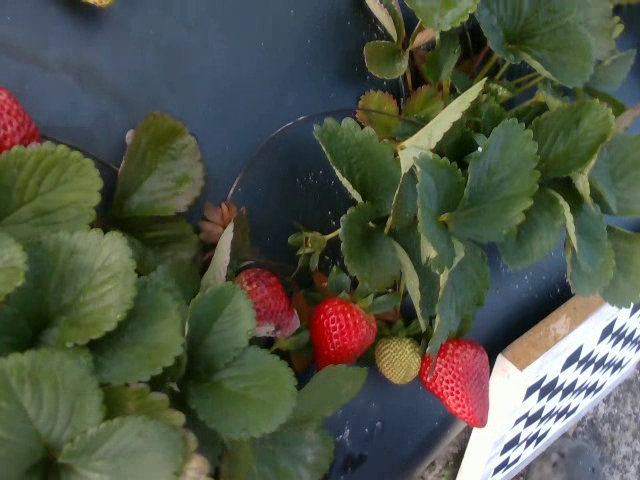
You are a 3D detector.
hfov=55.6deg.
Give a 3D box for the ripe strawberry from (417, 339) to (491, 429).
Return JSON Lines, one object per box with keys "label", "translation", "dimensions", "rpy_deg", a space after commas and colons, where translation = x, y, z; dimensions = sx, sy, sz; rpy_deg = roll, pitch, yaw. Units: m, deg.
{"label": "ripe strawberry", "translation": [0.041, 0.042, 0.170], "dimensions": [0.022, 0.030, 0.025], "rpy_deg": [-19, -31, 5]}
